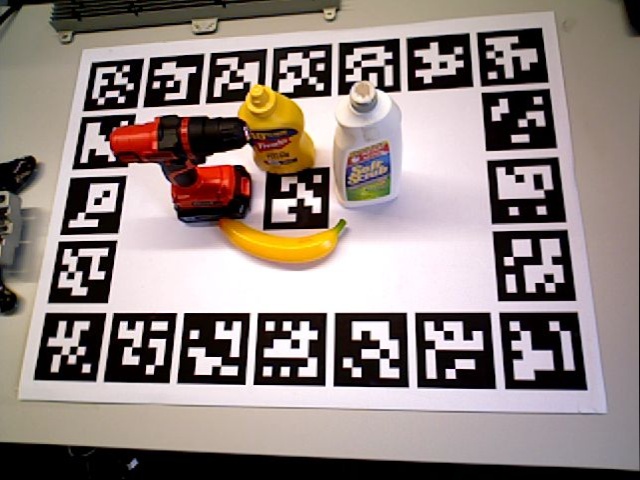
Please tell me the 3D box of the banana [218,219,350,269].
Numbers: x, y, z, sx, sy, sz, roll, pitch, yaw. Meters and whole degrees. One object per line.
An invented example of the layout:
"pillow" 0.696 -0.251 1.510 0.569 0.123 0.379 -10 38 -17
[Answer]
"banana" -0.056 0.004 0.785 0.197 0.039 0.074 2 77 11

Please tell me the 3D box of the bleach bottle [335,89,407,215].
"bleach bottle" 0.059 -0.109 0.699 0.102 0.252 0.067 -8 72 5

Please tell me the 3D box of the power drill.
"power drill" -0.170 -0.103 0.737 0.184 0.189 0.057 -3 64 5

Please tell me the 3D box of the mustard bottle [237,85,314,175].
"mustard bottle" -0.065 -0.156 0.755 0.096 0.193 0.058 0 71 7
